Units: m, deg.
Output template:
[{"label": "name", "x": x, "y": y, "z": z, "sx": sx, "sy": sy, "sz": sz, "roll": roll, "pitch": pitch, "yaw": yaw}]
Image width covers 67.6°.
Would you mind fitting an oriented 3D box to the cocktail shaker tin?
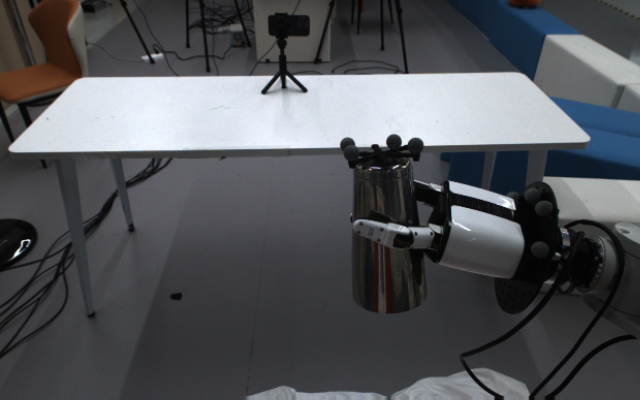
[{"label": "cocktail shaker tin", "x": 0.079, "y": 0.036, "z": 0.573, "sx": 0.093, "sy": 0.170, "sz": 0.093, "roll": -6, "pitch": 19, "yaw": 2}]
